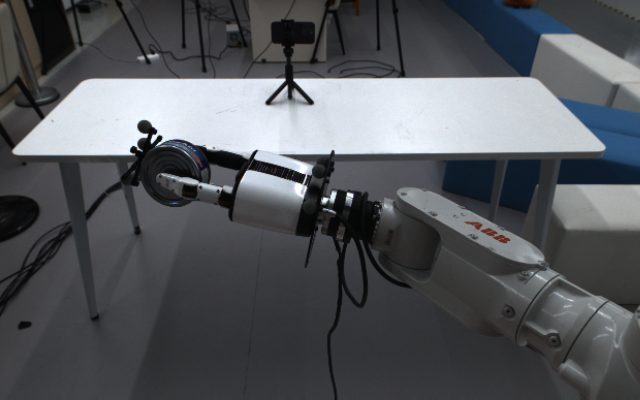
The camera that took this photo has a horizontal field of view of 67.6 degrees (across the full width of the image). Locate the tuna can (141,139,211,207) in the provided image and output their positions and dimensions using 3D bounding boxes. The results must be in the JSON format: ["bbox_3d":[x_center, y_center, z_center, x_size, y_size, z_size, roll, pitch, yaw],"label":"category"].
[{"bbox_3d":[-0.190,-0.035,0.638,0.085,0.085,0.034,6,20,6],"label":"tuna can"}]
